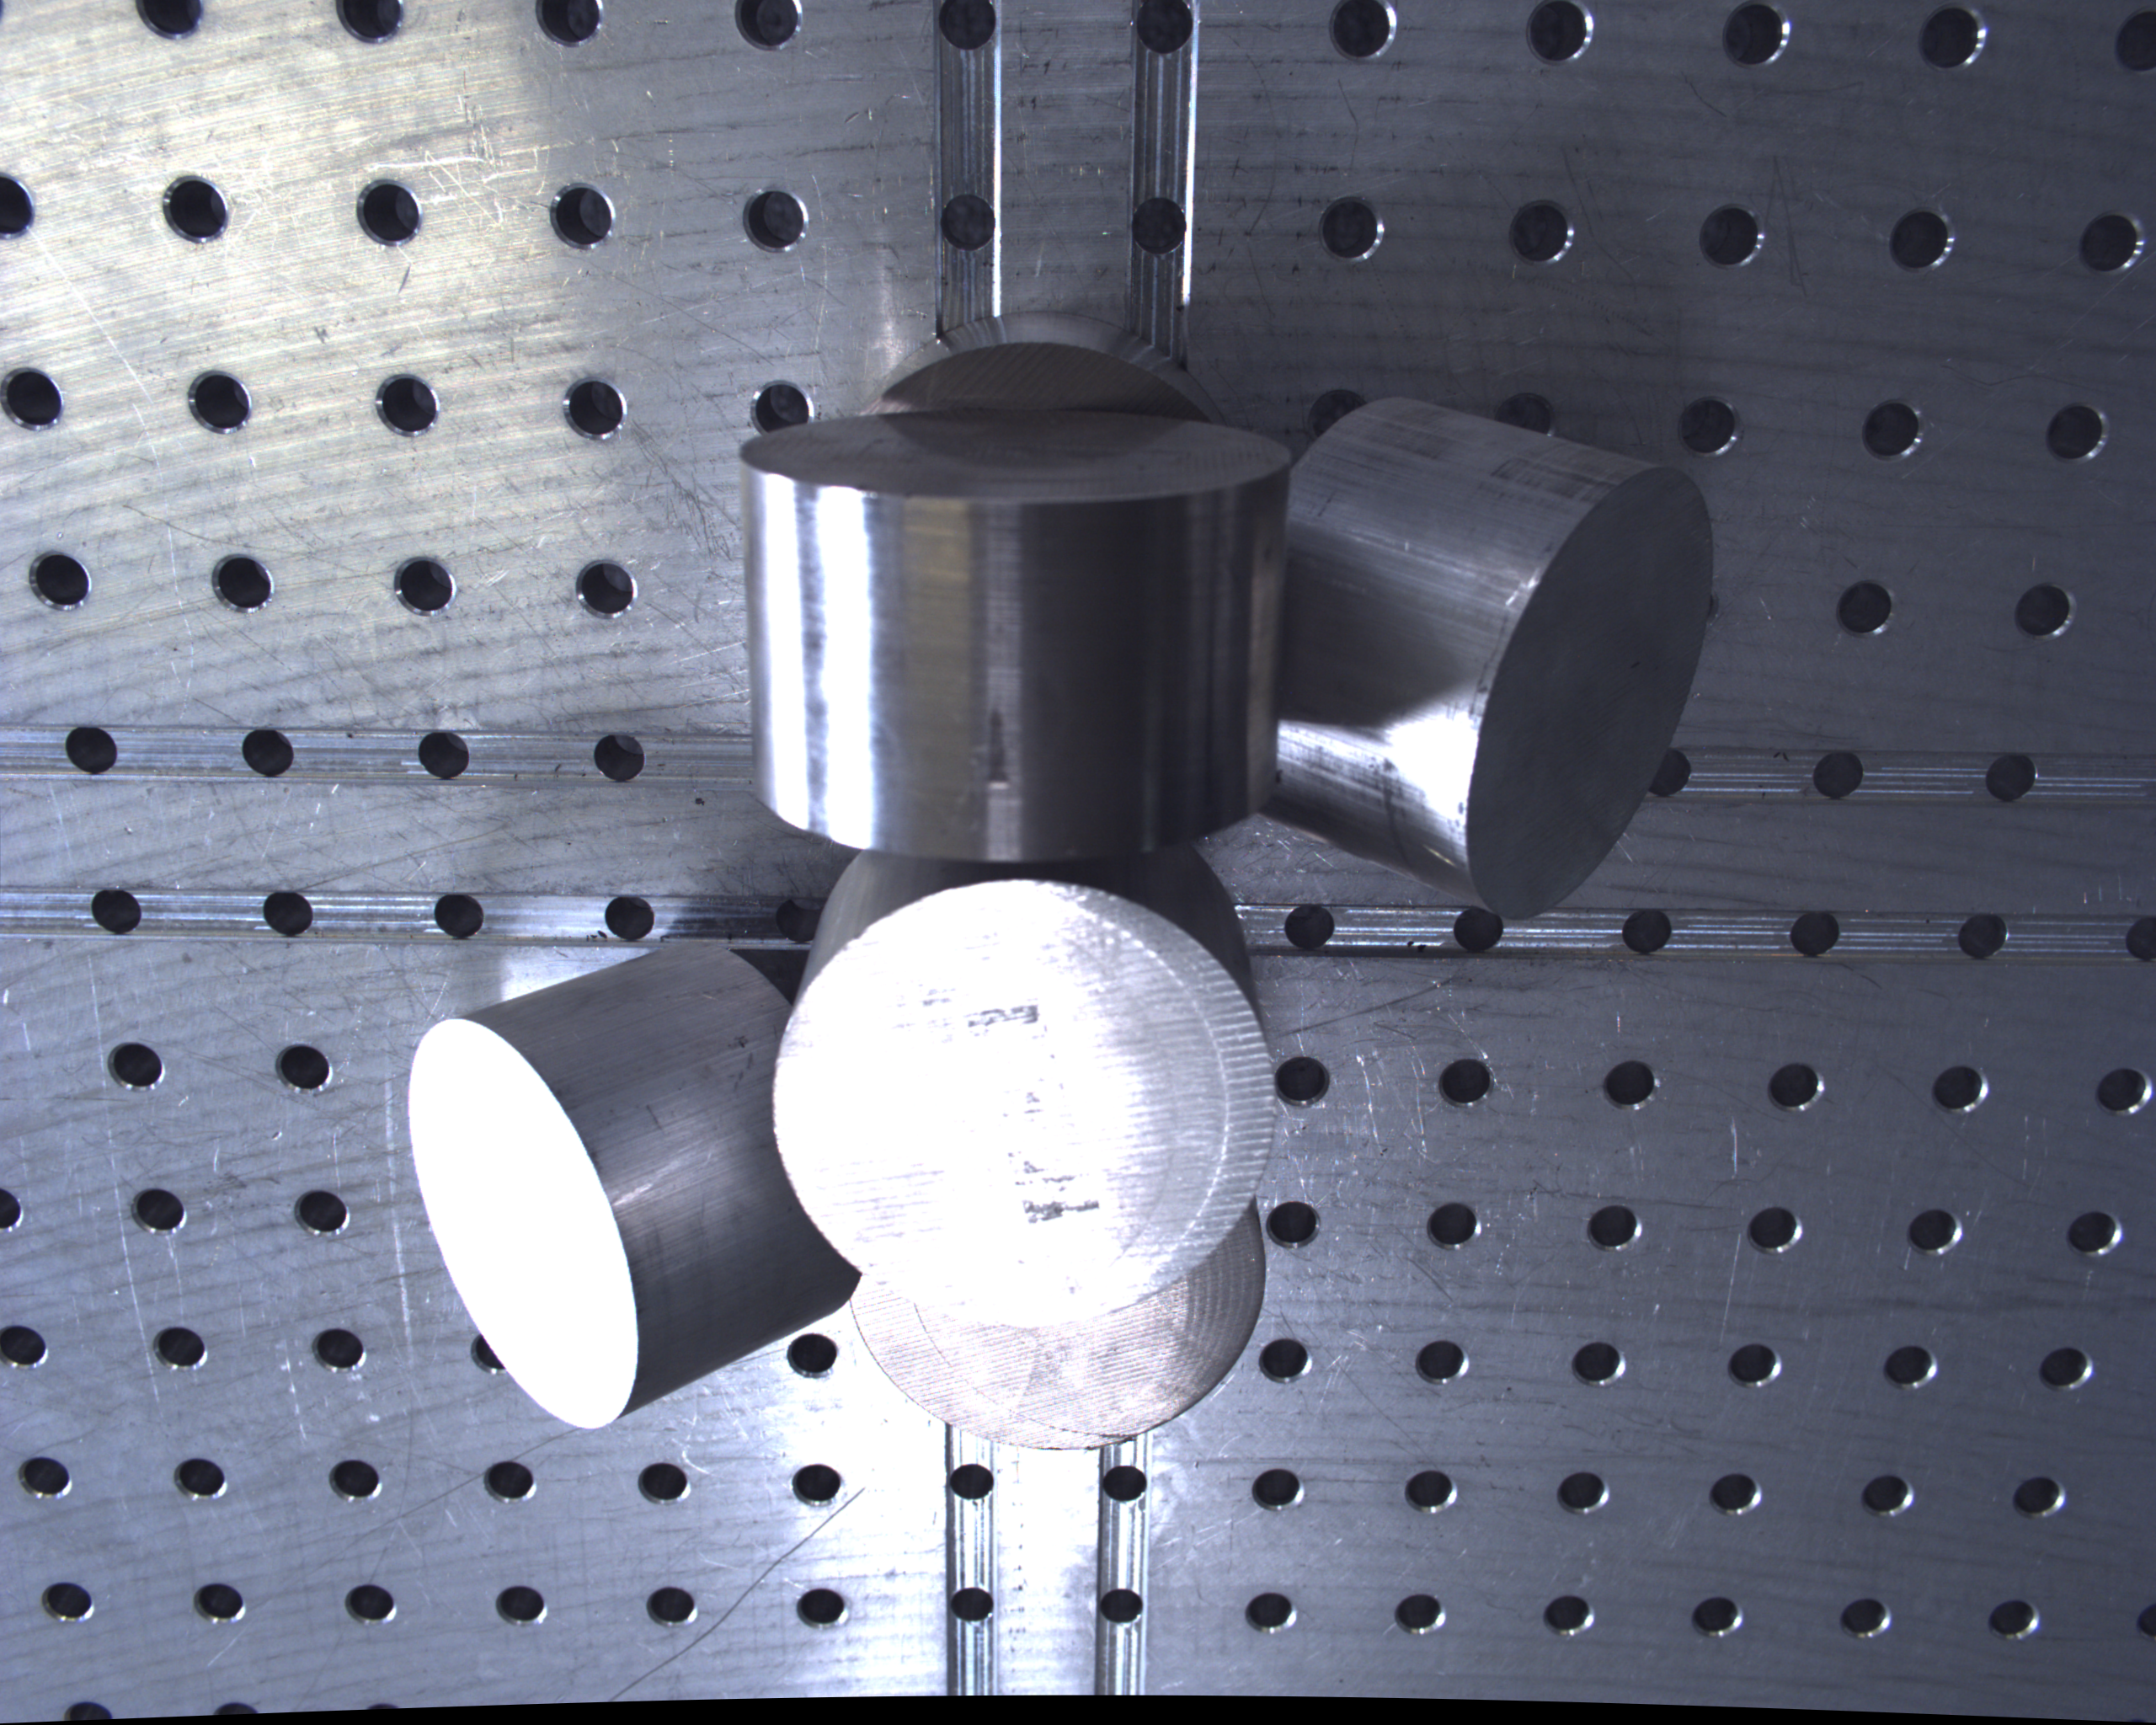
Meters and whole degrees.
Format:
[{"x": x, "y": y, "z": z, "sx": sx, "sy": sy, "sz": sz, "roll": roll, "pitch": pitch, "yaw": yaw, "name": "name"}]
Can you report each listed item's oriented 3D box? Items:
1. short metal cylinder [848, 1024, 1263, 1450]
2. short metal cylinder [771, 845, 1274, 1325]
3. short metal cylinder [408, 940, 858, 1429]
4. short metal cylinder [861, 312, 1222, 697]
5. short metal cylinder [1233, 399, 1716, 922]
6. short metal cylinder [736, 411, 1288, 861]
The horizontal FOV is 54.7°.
[{"x": -0.005, "y": 0.071, "z": 0.425, "sx": 0.081, "sy": 0.050, "sz": 0.079, "roll": 0, "pitch": 111, "yaw": -1, "name": "short metal cylinder"}, {"x": -0.009, "y": 0.031, "z": 0.357, "sx": 0.081, "sy": 0.050, "sz": 0.079, "roll": 0, "pitch": 110, "yaw": 0, "name": "short metal cylinder"}, {"x": -0.085, "y": 0.060, "z": 0.399, "sx": 0.050, "sy": 0.080, "sz": 0.079, "roll": -20, "pitch": 117, "yaw": -40, "name": "short metal cylinder"}, {"x": -0.008, "y": -0.056, "z": 0.379, "sx": 0.081, "sy": 0.050, "sz": 0.079, "roll": 0, "pitch": 111, "yaw": 0, "name": "short metal cylinder"}, {"x": 0.068, "y": -0.036, "z": 0.364, "sx": 0.050, "sy": 0.081, "sz": 0.079, "roll": 25, "pitch": 114, "yaw": 34, "name": "short metal cylinder"}, {"x": -0.010, "y": -0.037, "z": 0.315, "sx": 0.081, "sy": 0.080, "sz": 0.050, "roll": 0, "pitch": 110, "yaw": 0, "name": "short metal cylinder"}]
